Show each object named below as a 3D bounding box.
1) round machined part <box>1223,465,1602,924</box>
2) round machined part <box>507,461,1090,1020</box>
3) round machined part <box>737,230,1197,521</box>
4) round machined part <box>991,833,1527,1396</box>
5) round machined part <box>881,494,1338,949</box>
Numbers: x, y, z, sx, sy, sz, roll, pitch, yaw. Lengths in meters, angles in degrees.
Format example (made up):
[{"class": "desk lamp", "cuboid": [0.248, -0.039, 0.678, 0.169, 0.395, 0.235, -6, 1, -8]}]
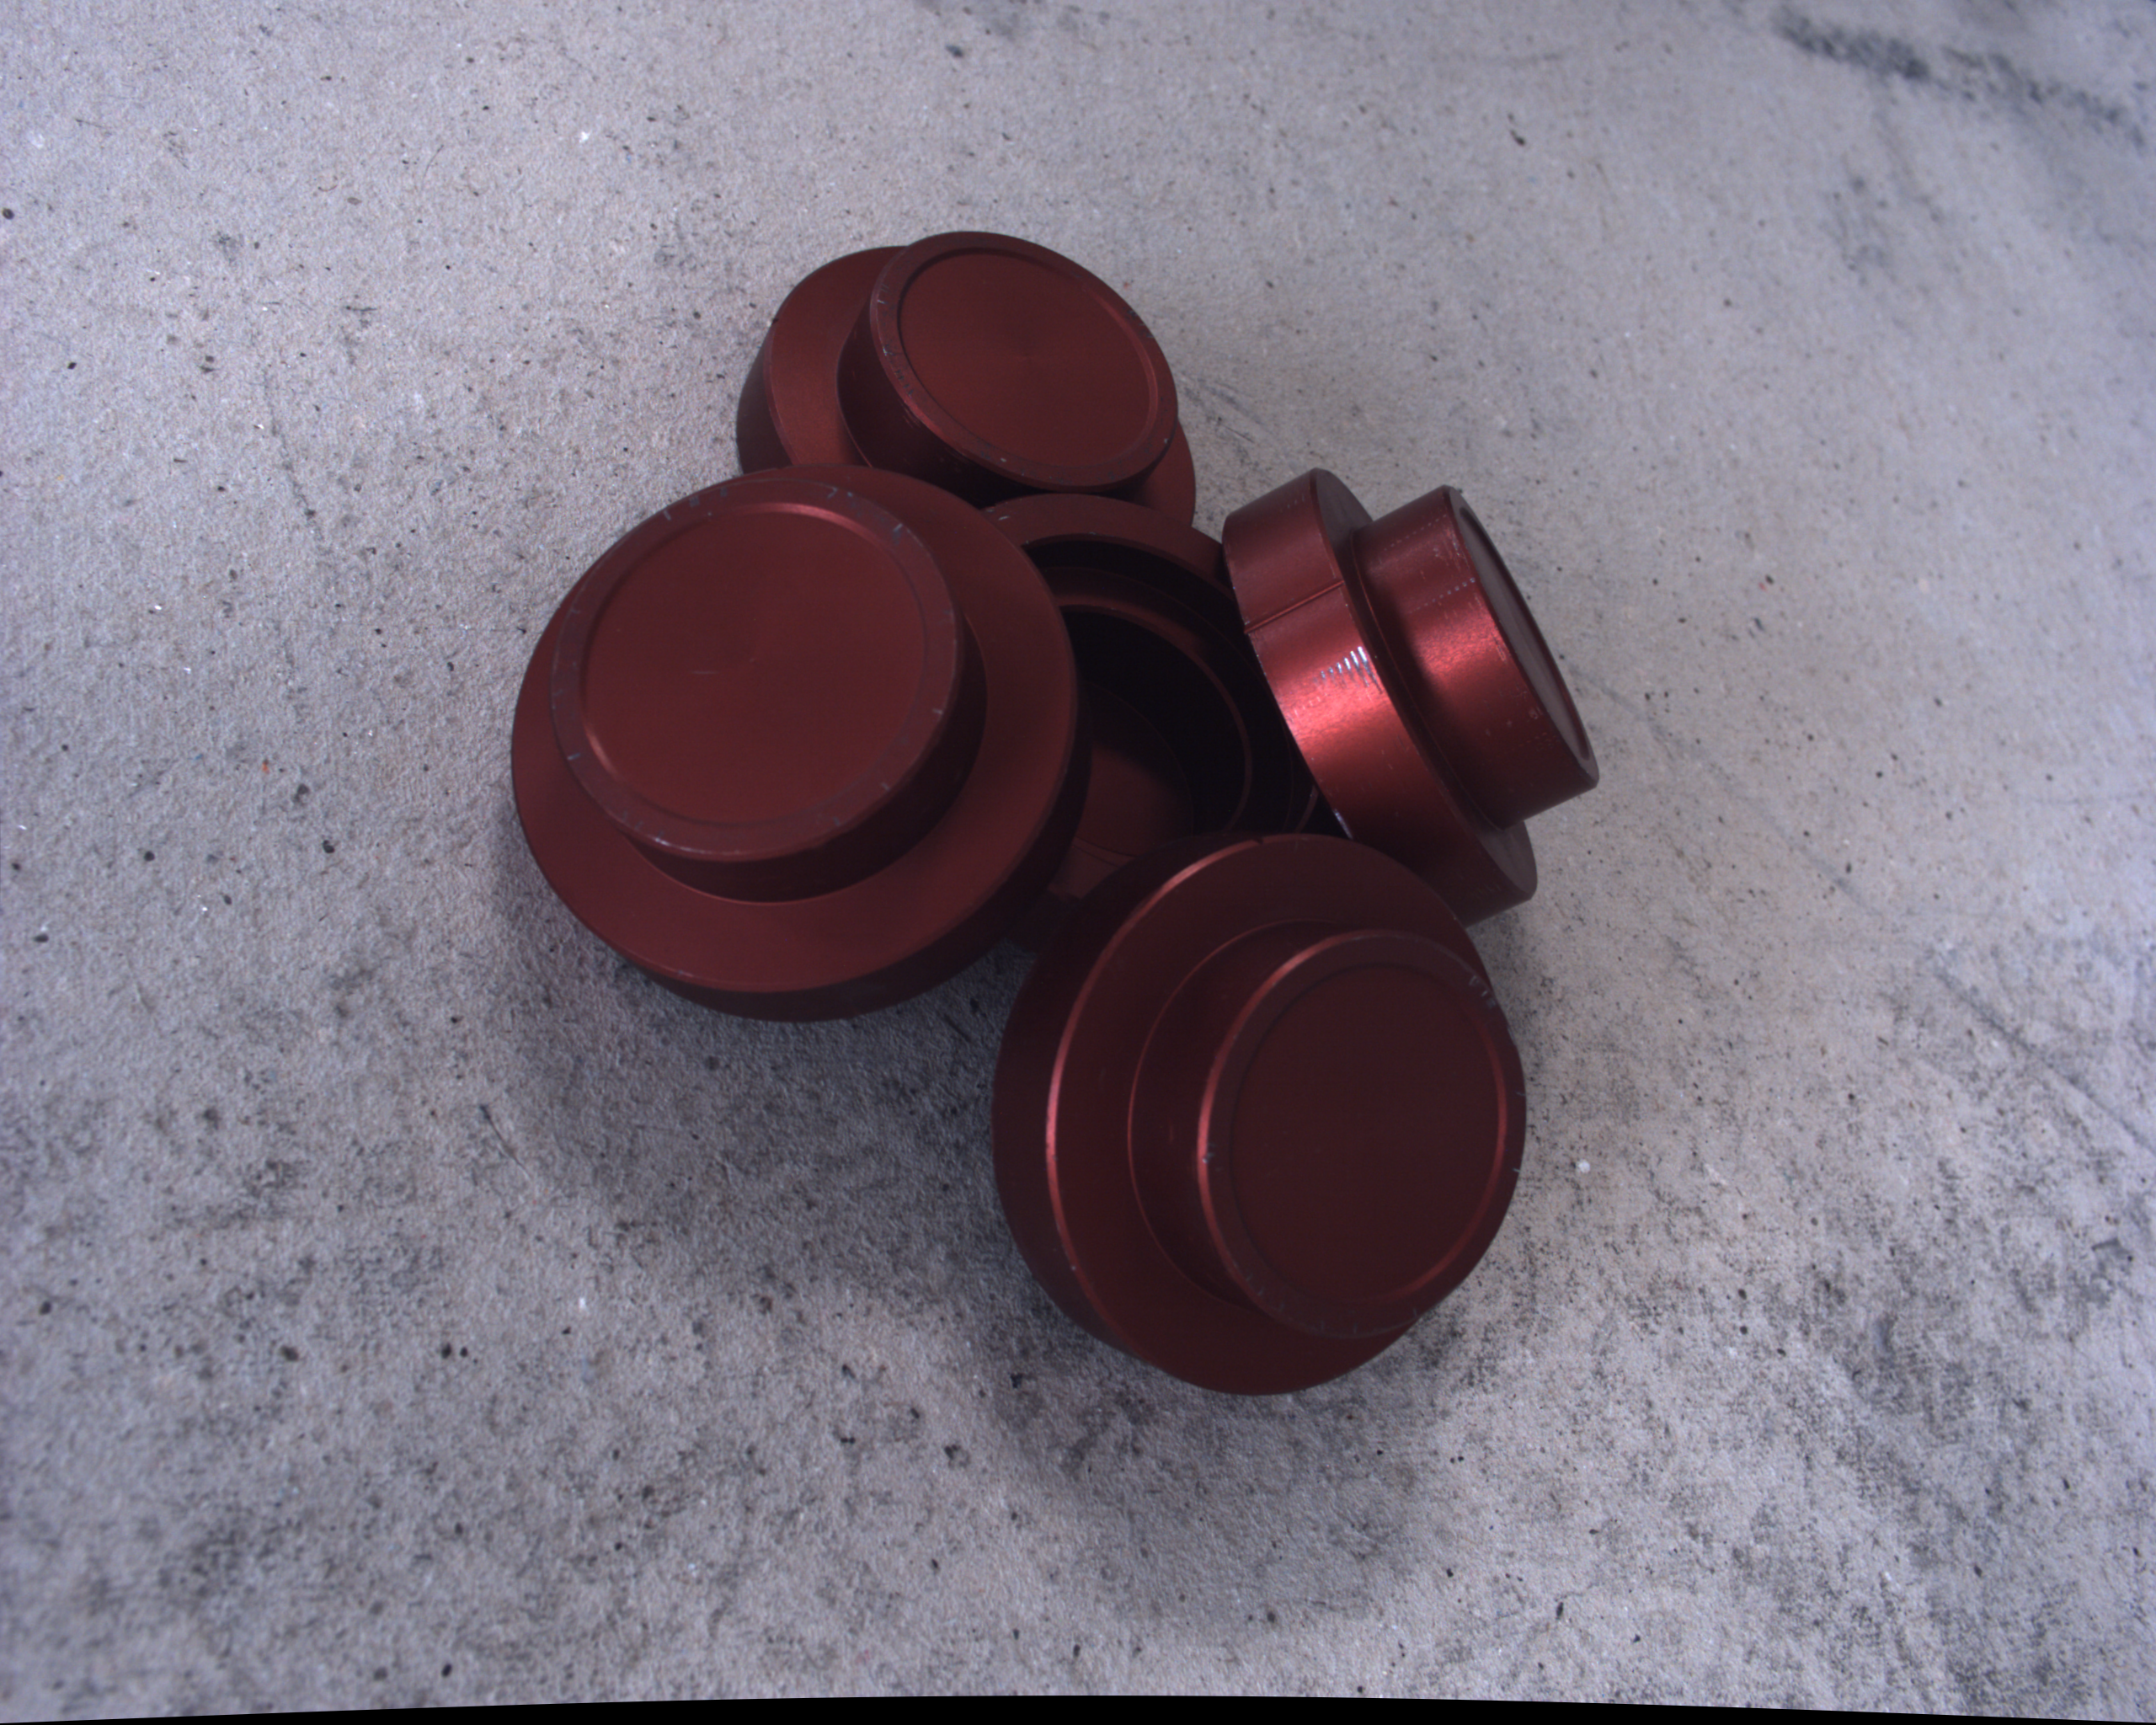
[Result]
[{"class": "round machined part", "cuboid": [0.072, -0.038, 0.423, 0.098, 0.042, 0.098, 51, 22, -30]}, {"class": "round machined part", "cuboid": [-0.049, -0.026, 0.353, 0.099, 0.042, 0.098, -2, 70, 6]}, {"class": "round machined part", "cuboid": [-0.018, -0.094, 0.441, 0.099, 0.042, 0.098, 14, 55, -20]}, {"class": "round machined part", "cuboid": [0.038, 0.044, 0.360, 0.099, 0.042, 0.097, -1, 93, -30]}, {"class": "round machined part", "cuboid": [0.004, -0.021, 0.409, 0.099, 0.042, 0.098, 12, 56, -19]}]
